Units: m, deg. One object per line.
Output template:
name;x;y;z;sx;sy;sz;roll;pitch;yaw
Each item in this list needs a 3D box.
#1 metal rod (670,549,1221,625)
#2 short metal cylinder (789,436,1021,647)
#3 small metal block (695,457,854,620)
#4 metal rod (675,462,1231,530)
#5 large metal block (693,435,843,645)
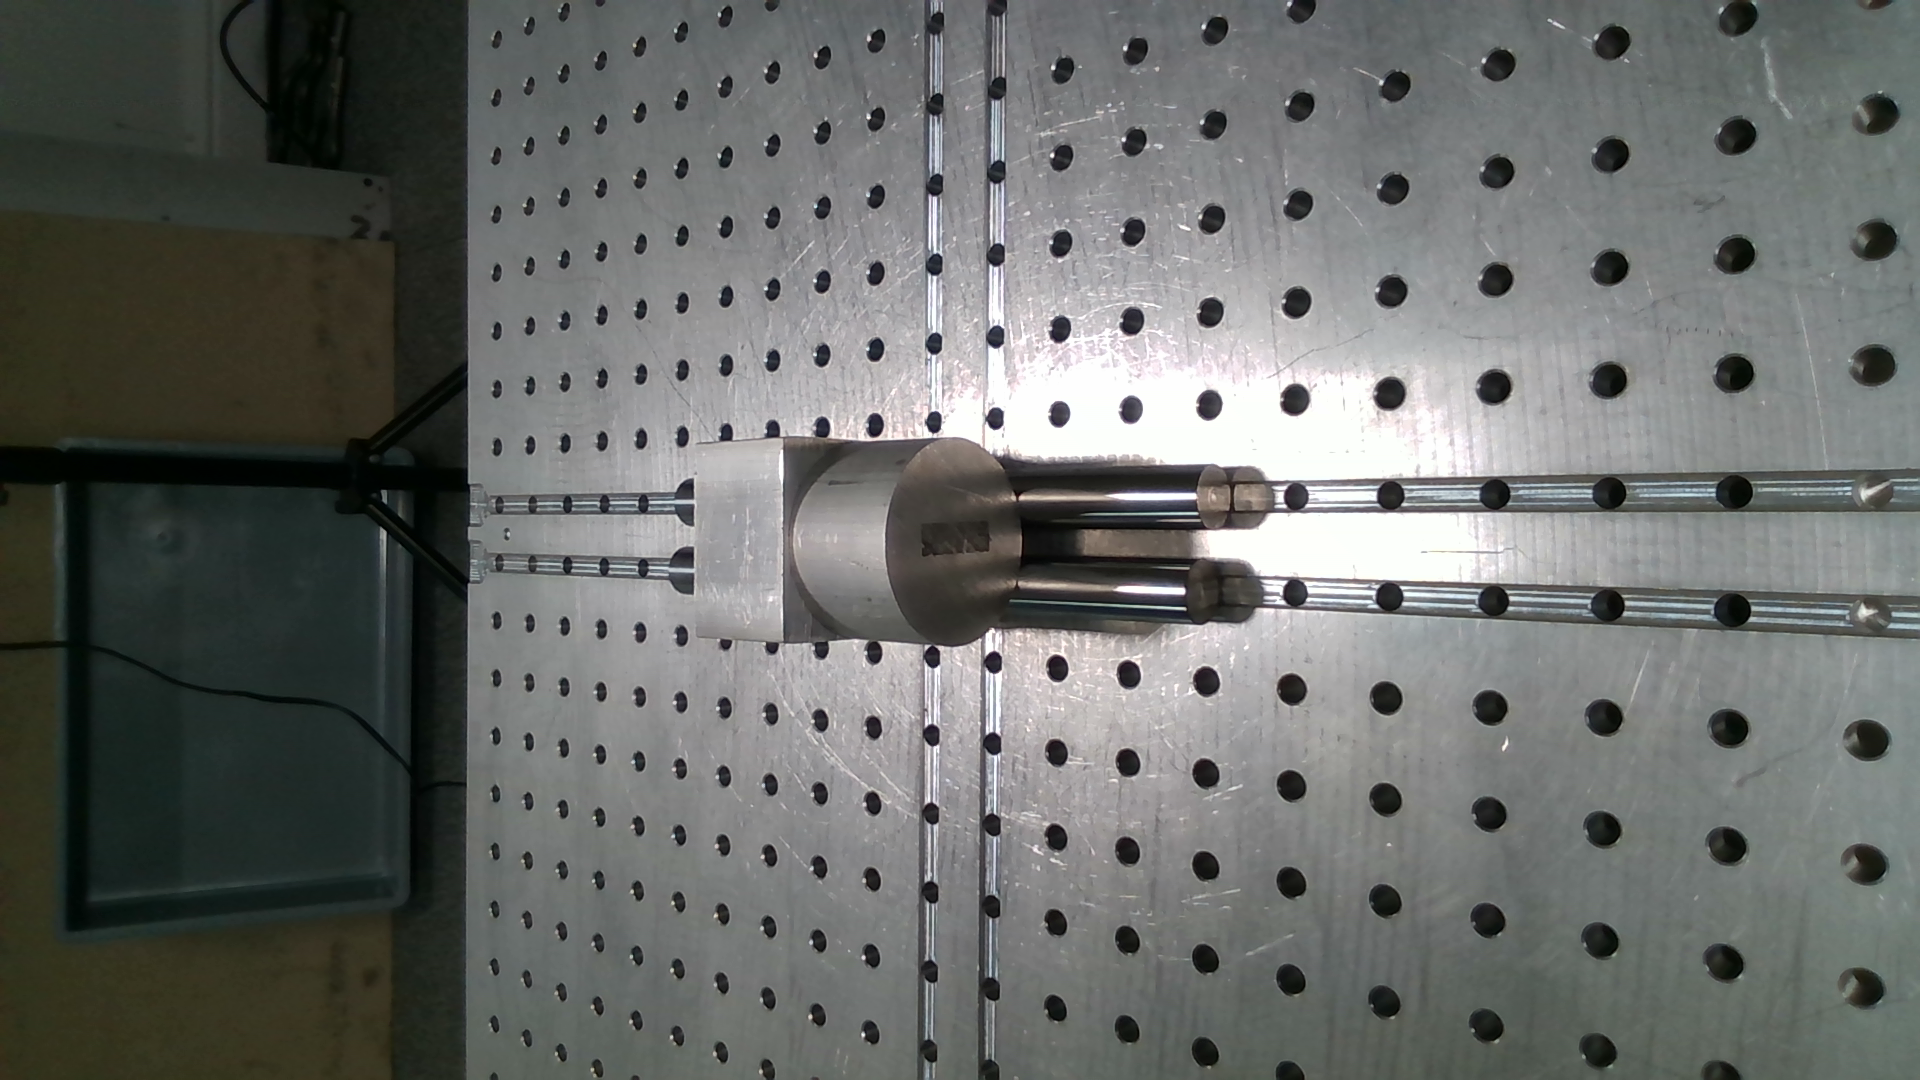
metal rod;-0.024;0.017;0.607;0.300;0.025;0.025;1;91;40
short metal cylinder;-0.020;0.000;0.538;0.050;0.080;0.080;1;91;40
small metal block;-0.081;-0.001;0.607;0.025;0.050;0.050;1;136;40
metal rod;-0.021;-0.018;0.604;0.300;0.025;0.025;1;91;40
large metal block;-0.063;0.000;0.570;0.050;0.080;0.080;1;91;40
